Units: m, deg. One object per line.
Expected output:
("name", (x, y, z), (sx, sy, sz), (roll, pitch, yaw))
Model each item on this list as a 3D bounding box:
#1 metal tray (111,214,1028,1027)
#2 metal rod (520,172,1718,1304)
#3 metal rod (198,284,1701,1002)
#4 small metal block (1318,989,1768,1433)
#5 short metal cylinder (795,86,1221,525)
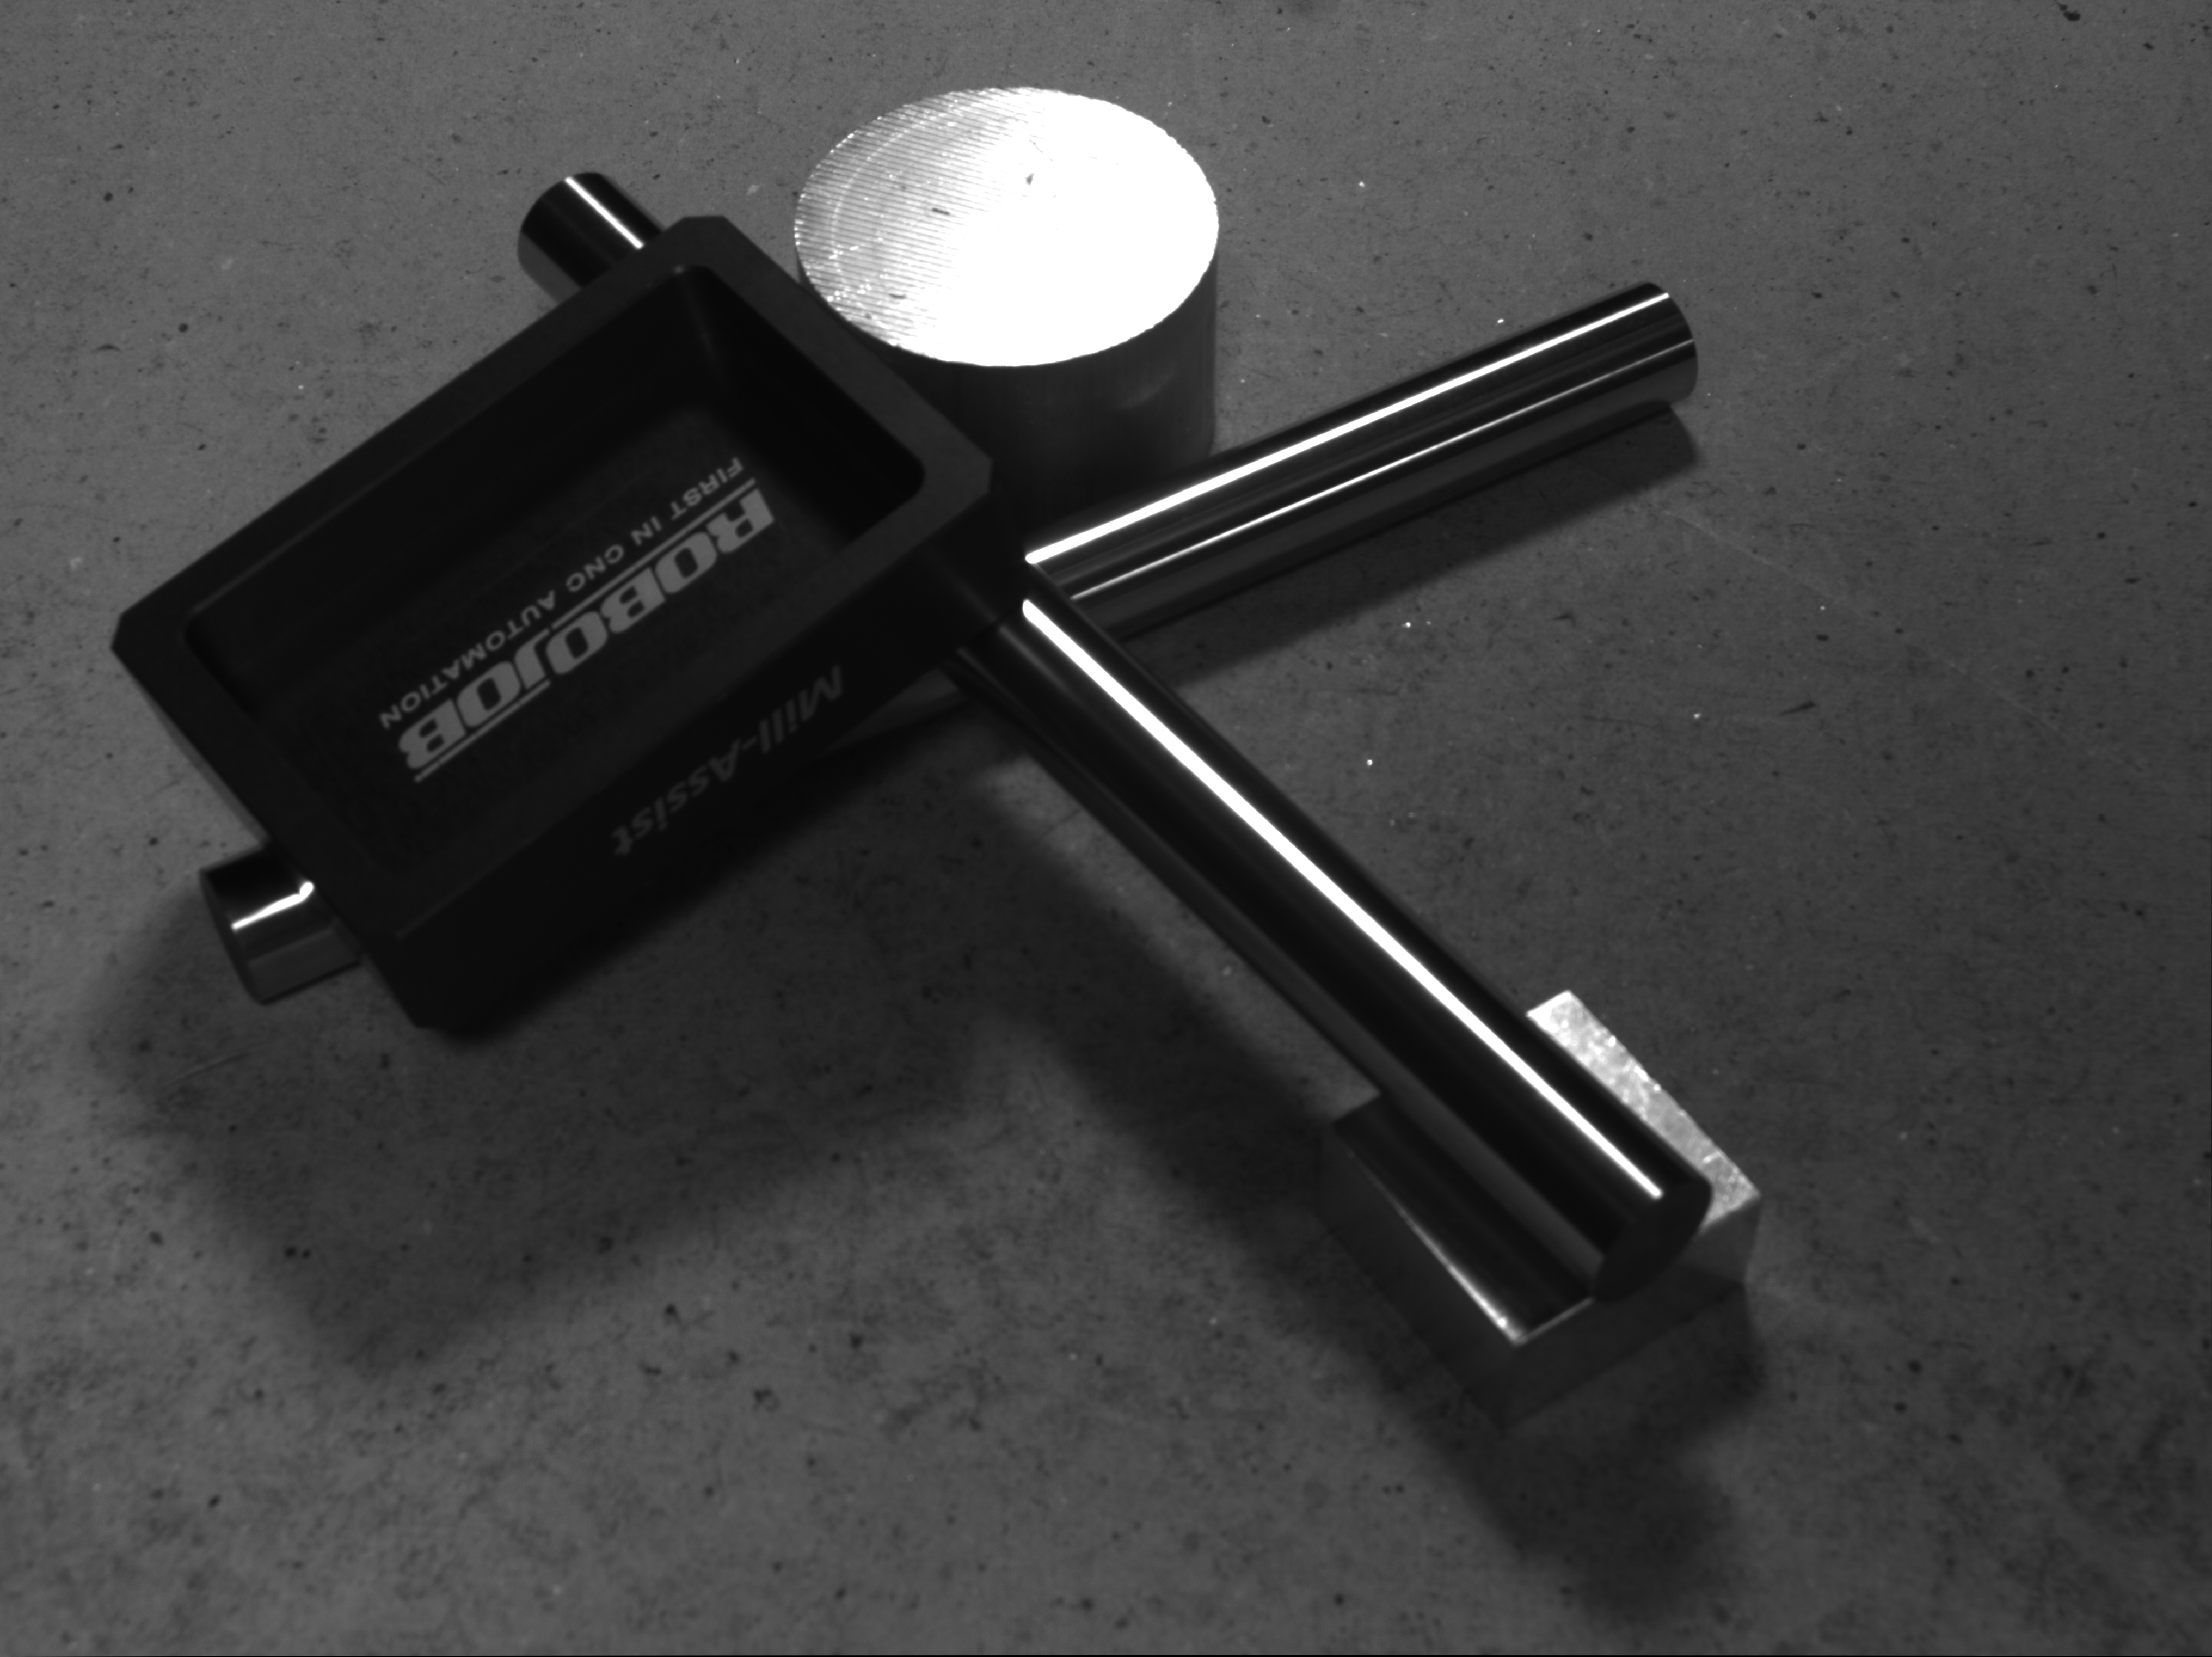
("metal tray", (-0.090, -0.038, 0.620), (0.130, 0.030, 0.090), (-38, 58, -14))
("metal rod", (-0.009, -0.027, 0.632), (0.025, 0.025, 0.299), (-31, 57, -24))
("metal rod", (-0.020, -0.039, 0.675), (0.300, 0.025, 0.025), (-24, 54, -19))
("small metal block", (0.070, 0.061, 0.591), (0.050, 0.025, 0.050), (-27, 55, -21))
("short metal cylinder", (-0.018, -0.098, 0.708), (0.080, 0.050, 0.080), (0, 50, 0))
